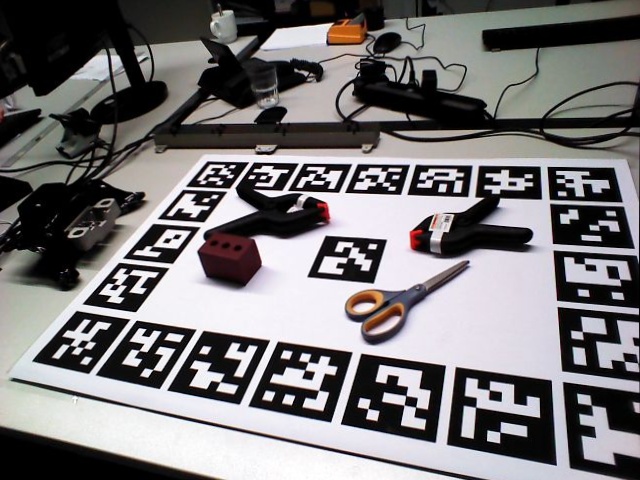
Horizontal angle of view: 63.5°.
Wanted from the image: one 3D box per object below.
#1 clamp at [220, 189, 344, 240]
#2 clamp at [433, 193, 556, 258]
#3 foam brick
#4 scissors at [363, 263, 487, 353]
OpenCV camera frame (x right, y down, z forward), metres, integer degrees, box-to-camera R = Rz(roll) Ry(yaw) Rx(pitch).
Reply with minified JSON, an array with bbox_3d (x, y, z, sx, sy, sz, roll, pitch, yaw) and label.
[{"bbox_3d":[-0.060,-0.039,0.889,0.204,0.037,0.164,1,36,15],"label":"clamp"},{"bbox_3d":[0.249,-0.013,0.783,0.165,0.037,0.121,-15,45,-3],"label":"clamp"},{"bbox_3d":[-0.114,0.041,0.792,0.078,0.051,0.052,5,42,27],"label":"foam brick"},{"bbox_3d":[0.151,0.076,0.698,0.202,0.016,0.088,-28,48,-22],"label":"scissors"}]
